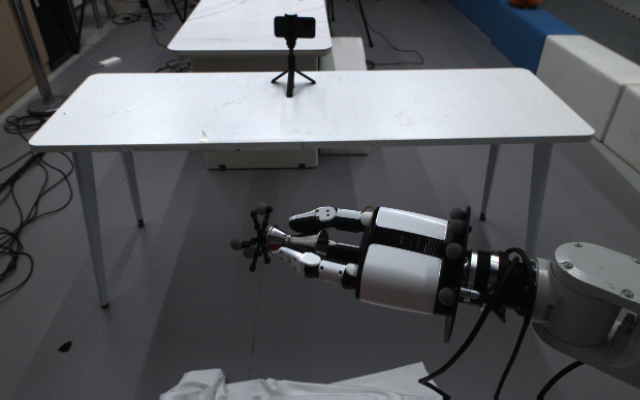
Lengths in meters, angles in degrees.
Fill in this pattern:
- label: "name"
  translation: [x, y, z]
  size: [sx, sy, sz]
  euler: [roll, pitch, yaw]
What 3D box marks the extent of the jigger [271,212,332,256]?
- label: "jigger"
  translation: [-0.020, 0.047, 0.606]
  size: [0.071, 0.043, 0.043]
  euler: [4, 33, 21]
